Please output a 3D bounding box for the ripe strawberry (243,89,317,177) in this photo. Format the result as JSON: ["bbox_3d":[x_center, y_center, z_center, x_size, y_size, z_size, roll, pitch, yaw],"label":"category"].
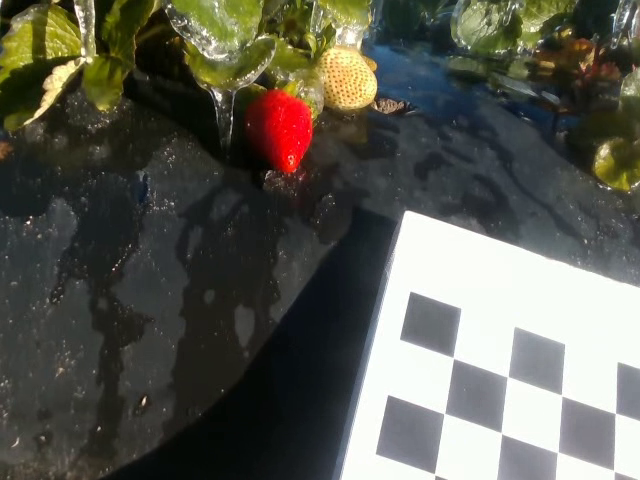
[{"bbox_3d":[-0.016,-0.058,0.305,0.041,0.052,0.040,4,-36,-10],"label":"ripe strawberry"}]
